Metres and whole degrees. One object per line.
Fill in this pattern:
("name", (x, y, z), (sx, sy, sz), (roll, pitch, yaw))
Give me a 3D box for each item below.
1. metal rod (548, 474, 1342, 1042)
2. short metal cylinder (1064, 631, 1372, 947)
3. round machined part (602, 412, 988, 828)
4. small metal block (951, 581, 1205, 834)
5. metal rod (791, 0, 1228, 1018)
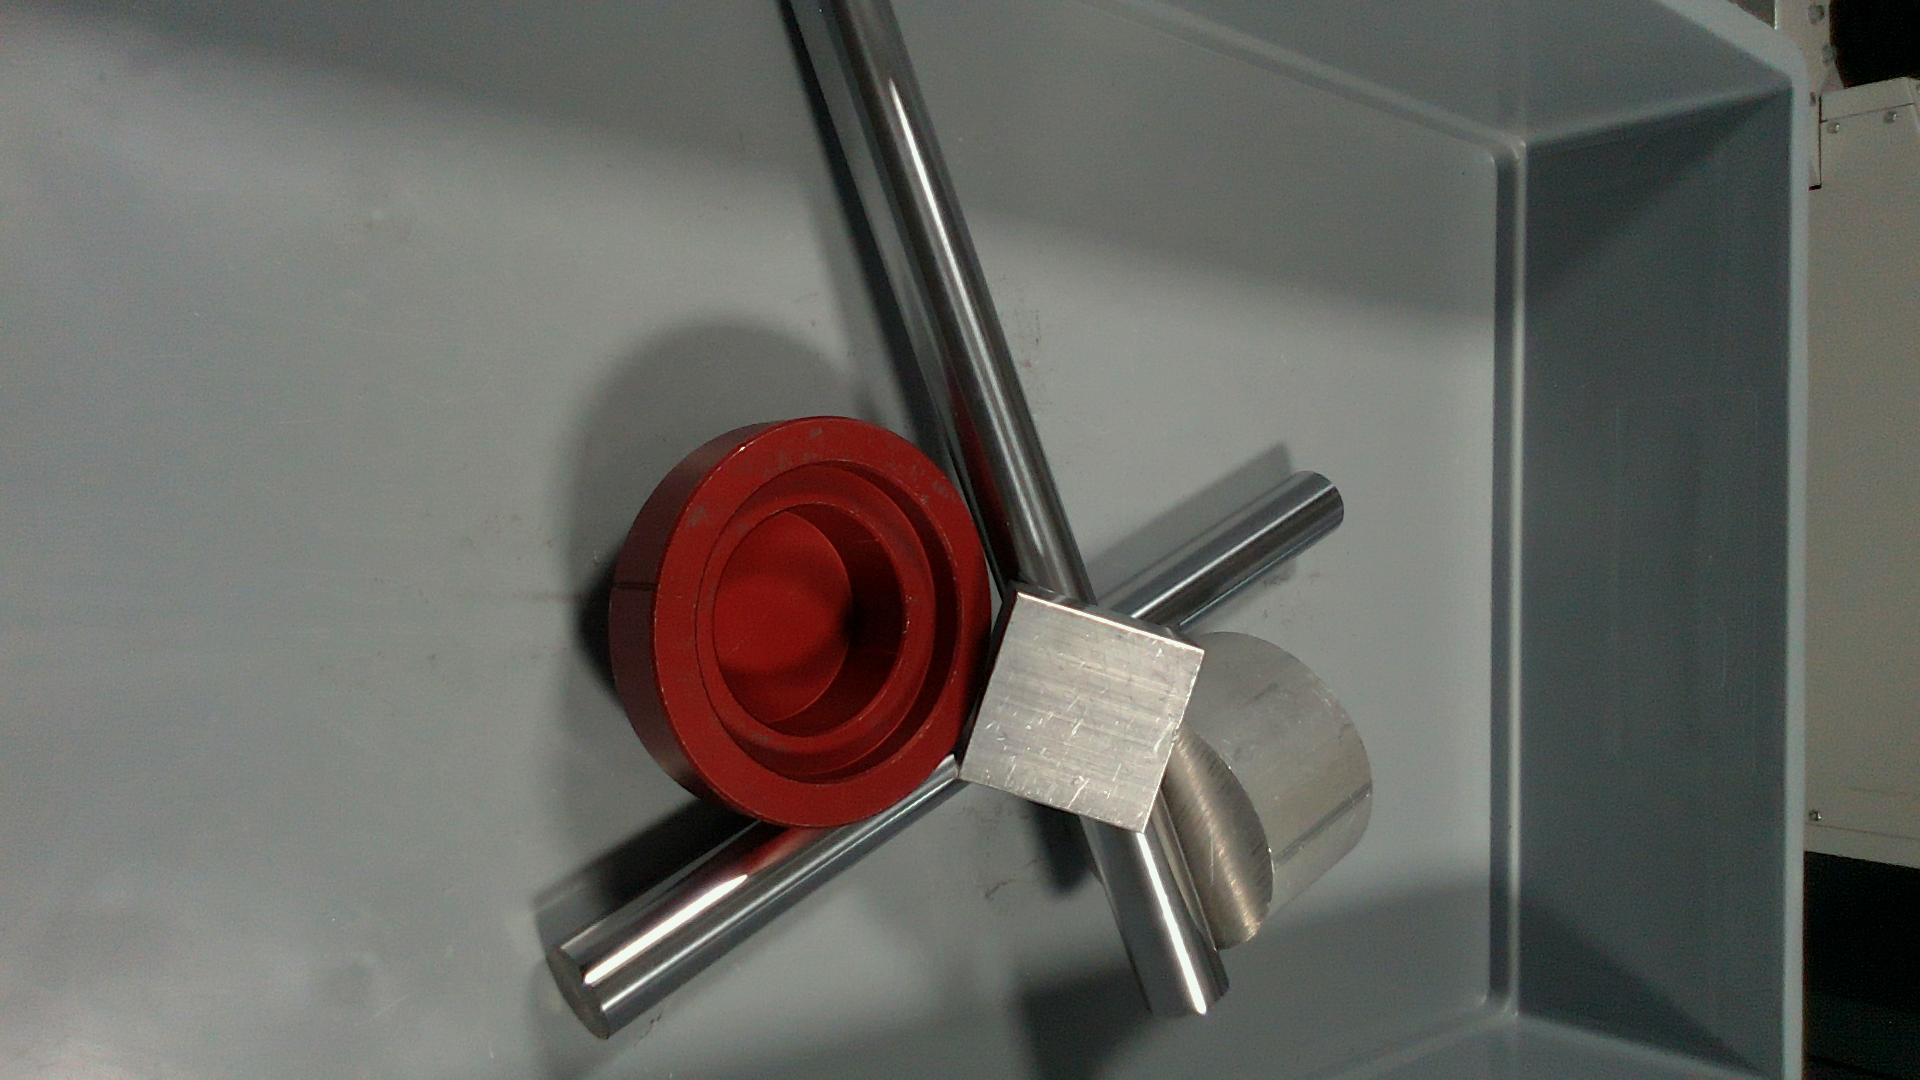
("metal rod", (0.019, 0.046, 0.404), (0.301, 0.025, 0.025), (-29, 108, -36))
("short metal cylinder", (0.075, 0.074, 0.414), (0.050, 0.080, 0.080), (-25, 106, -37))
("round machined part", (-0.043, 0.019, 0.341), (0.098, 0.042, 0.098), (0, 90, -40))
("small metal block", (0.030, 0.042, 0.359), (0.050, 0.025, 0.050), (18, 95, -5))
("metal rod", (0.015, -0.010, 0.377), (0.025, 0.025, 0.300), (-25, 99, -37))
